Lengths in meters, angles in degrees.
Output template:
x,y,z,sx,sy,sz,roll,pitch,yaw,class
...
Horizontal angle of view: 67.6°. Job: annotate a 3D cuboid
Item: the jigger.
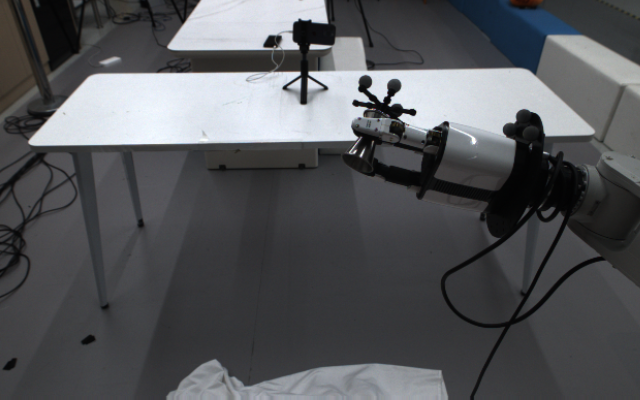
x,y,z,sx,sy,sz,roll,pitch,yaw,class
0.059,-0.077,0.602,0.043,0.043,0.071,19,72,23,jigger
